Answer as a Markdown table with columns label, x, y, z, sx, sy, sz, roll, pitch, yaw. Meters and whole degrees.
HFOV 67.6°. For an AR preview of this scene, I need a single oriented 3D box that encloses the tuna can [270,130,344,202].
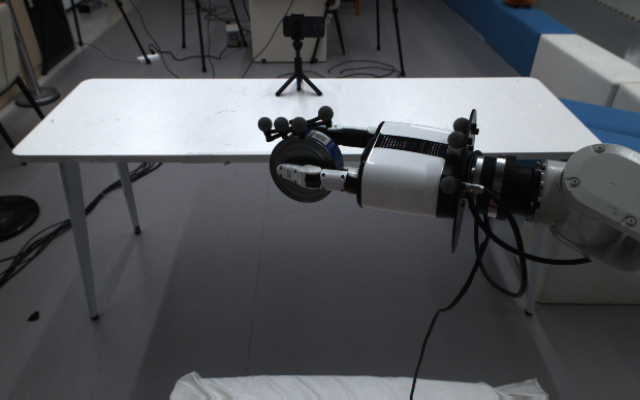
| label | x | y | z | sx | sy | sz | roll | pitch | yaw |
| --- | --- | --- | --- | --- | --- | --- | --- | --- | --- |
| tuna can | -0.013 | -0.038 | 0.585 | 0.085 | 0.085 | 0.034 | 13 | 29 | 15 |
